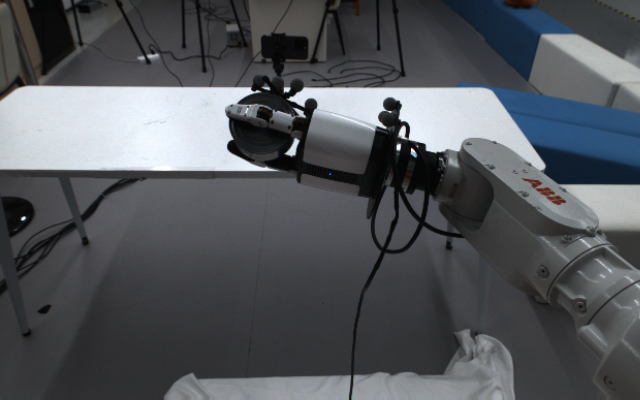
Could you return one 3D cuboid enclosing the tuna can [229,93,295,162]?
[{"bbox_3d":[-0.074,-0.097,0.638,0.085,0.034,0.085,0,72,0],"label":"tuna can"}]
